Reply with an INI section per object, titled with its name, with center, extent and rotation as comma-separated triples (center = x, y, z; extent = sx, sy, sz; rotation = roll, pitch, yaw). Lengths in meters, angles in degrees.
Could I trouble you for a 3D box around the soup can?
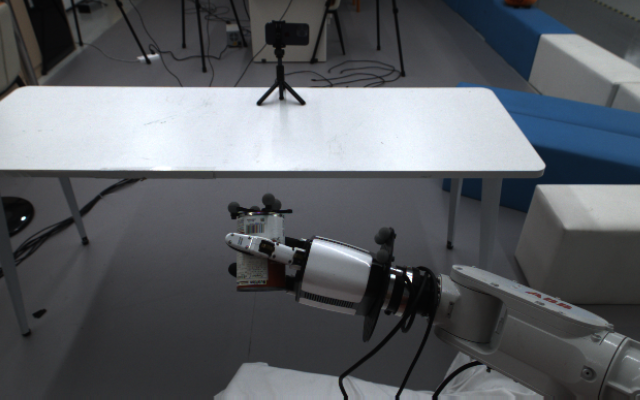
[soup can]
center = -0.079, 0.073, 0.660
extent = 0.067, 0.067, 0.101
rotation = -1, 77, -5
